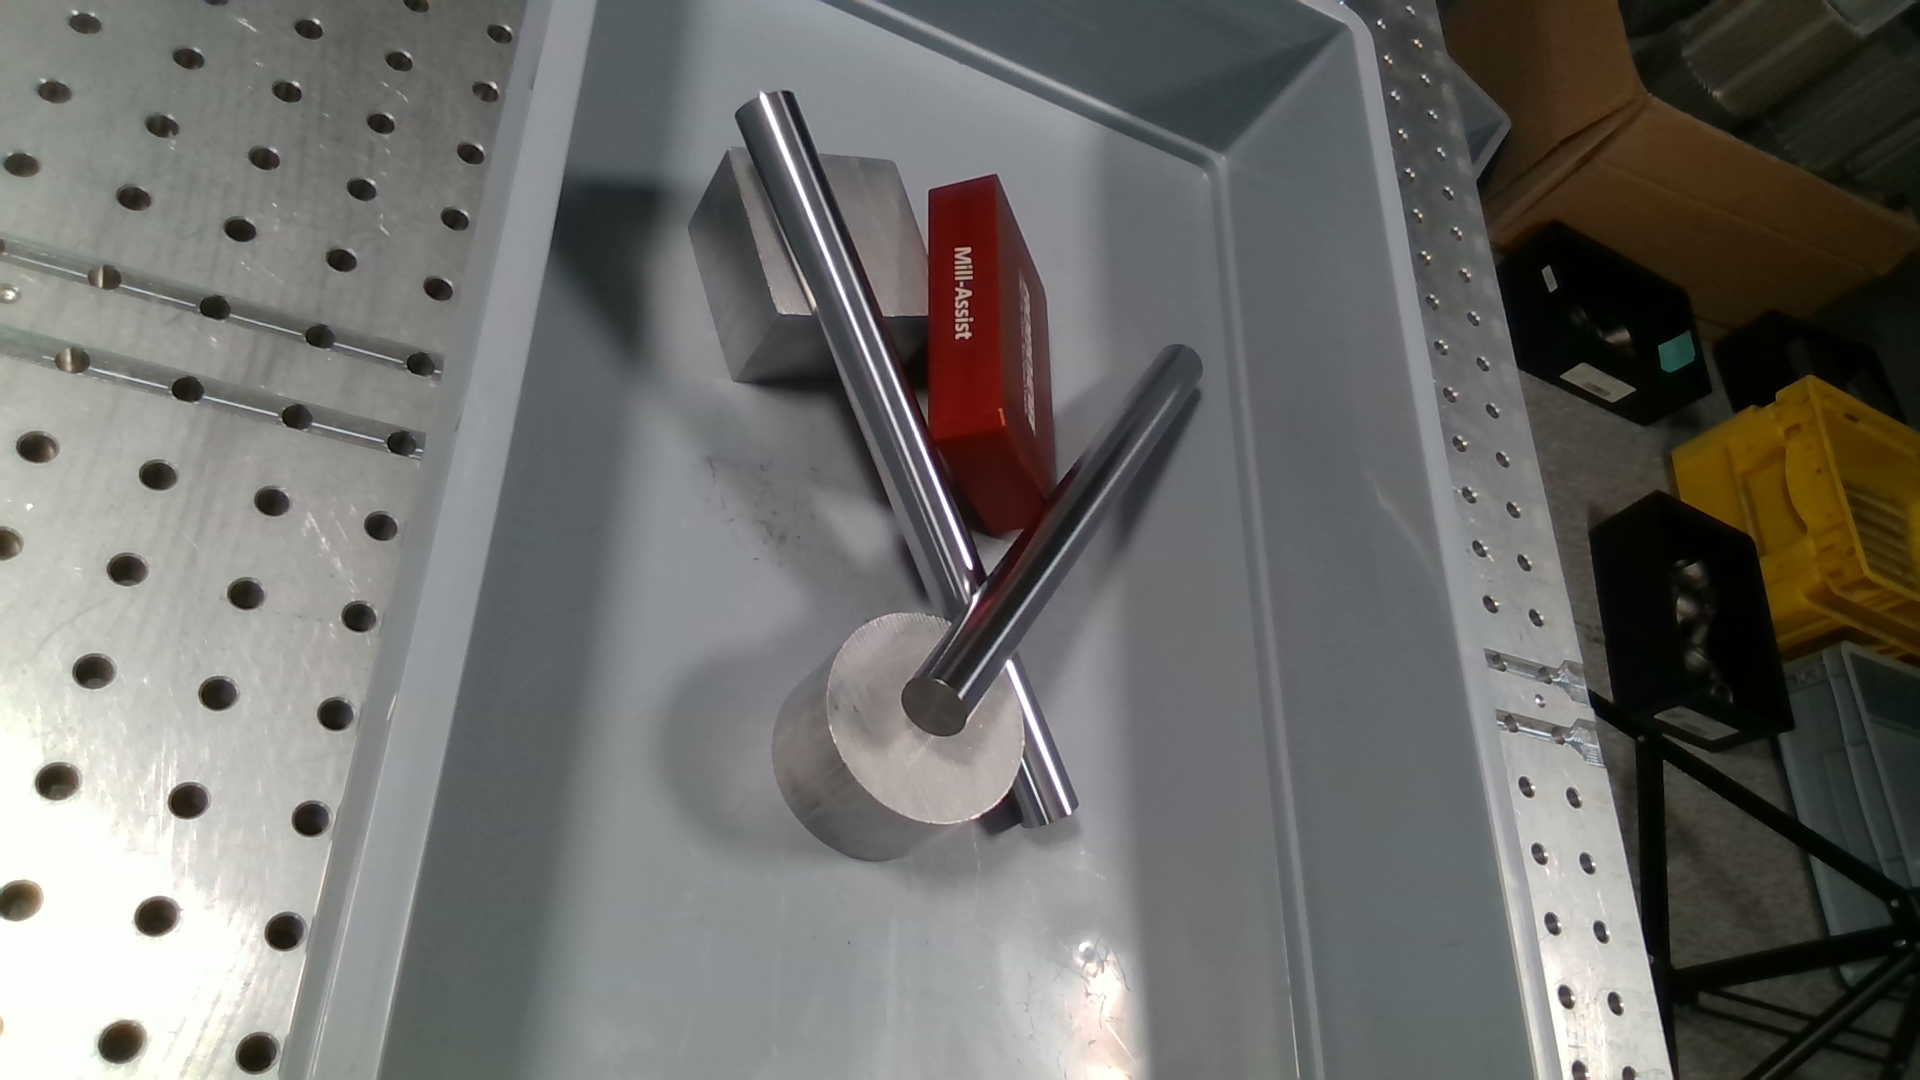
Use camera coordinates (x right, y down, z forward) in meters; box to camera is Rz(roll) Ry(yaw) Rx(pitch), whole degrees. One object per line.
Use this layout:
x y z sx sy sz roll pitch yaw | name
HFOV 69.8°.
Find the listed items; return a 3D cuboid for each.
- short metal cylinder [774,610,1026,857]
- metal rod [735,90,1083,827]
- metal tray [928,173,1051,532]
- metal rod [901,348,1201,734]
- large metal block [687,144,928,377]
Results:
-0.023 0.073 0.514 0.080 0.050 0.080 14 59 -25 | short metal cylinder
-0.019 -0.030 0.541 0.025 0.025 0.300 -24 93 -38 | metal rod
0.015 -0.081 0.598 0.090 0.030 0.130 57 27 -56 | metal tray
0.051 -0.016 0.587 0.025 0.025 0.299 44 38 -4 | metal rod
-0.062 -0.118 0.590 0.080 0.050 0.080 -6 68 -34 | large metal block
